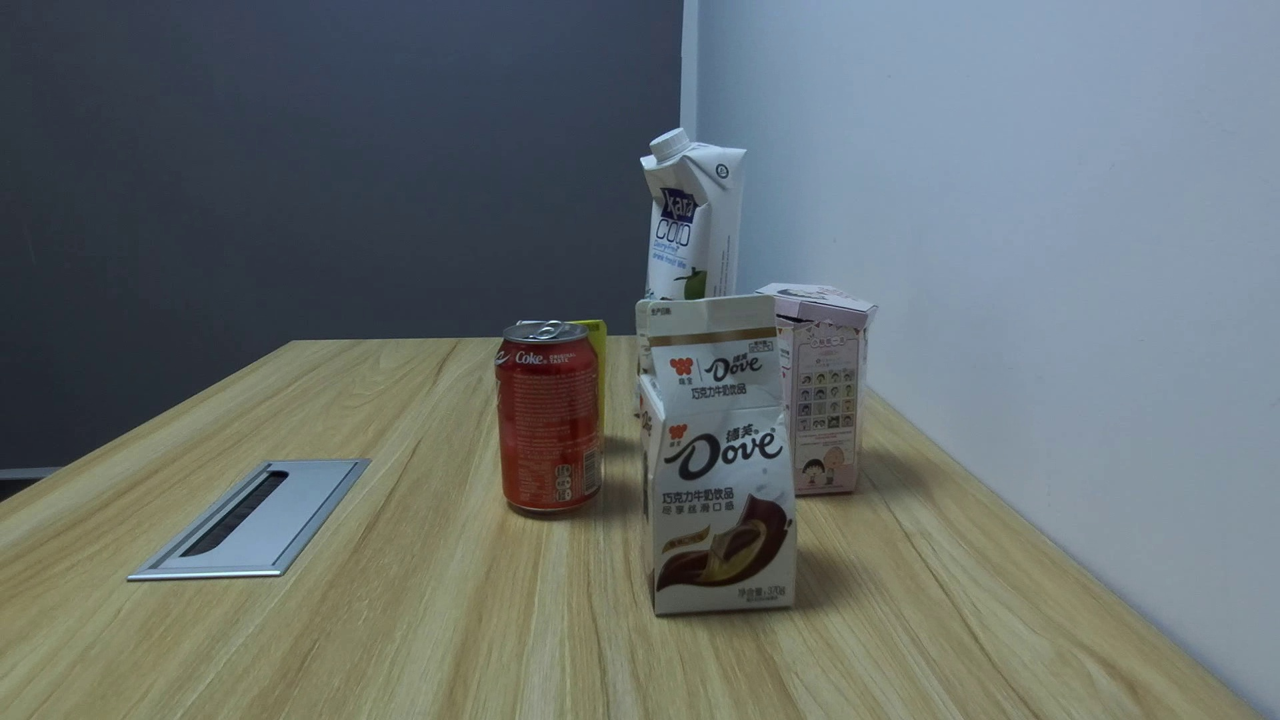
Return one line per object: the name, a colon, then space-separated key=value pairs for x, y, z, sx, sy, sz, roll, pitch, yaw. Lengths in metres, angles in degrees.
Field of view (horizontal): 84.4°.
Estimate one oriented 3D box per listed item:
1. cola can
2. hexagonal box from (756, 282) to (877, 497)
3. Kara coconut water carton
cola can: x=-0.060 y=0.036 z=0.467 sx=0.068 sy=0.120 sz=0.068 roll=-1 pitch=15 yaw=1
hexagonal box: x=0.117 y=0.018 z=0.496 sx=0.085 sy=0.135 sz=0.091 roll=-10 pitch=18 yaw=-33
Kara coconut water carton: x=0.041 y=-0.064 z=0.584 sx=0.071 sy=0.244 sz=0.099 roll=-8 pitch=16 yaw=-29
